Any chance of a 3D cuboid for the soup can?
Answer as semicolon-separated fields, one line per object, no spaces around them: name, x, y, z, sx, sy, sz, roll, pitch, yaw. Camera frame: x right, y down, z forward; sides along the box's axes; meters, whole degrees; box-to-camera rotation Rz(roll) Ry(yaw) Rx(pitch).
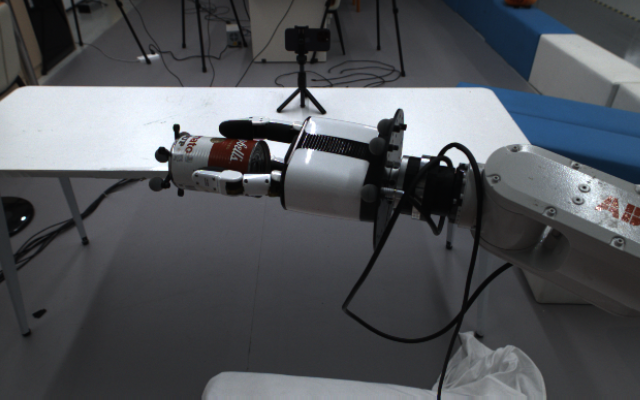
soup can;-0.115;-0.040;0.574;0.101;0.067;0.067;6;35;12
